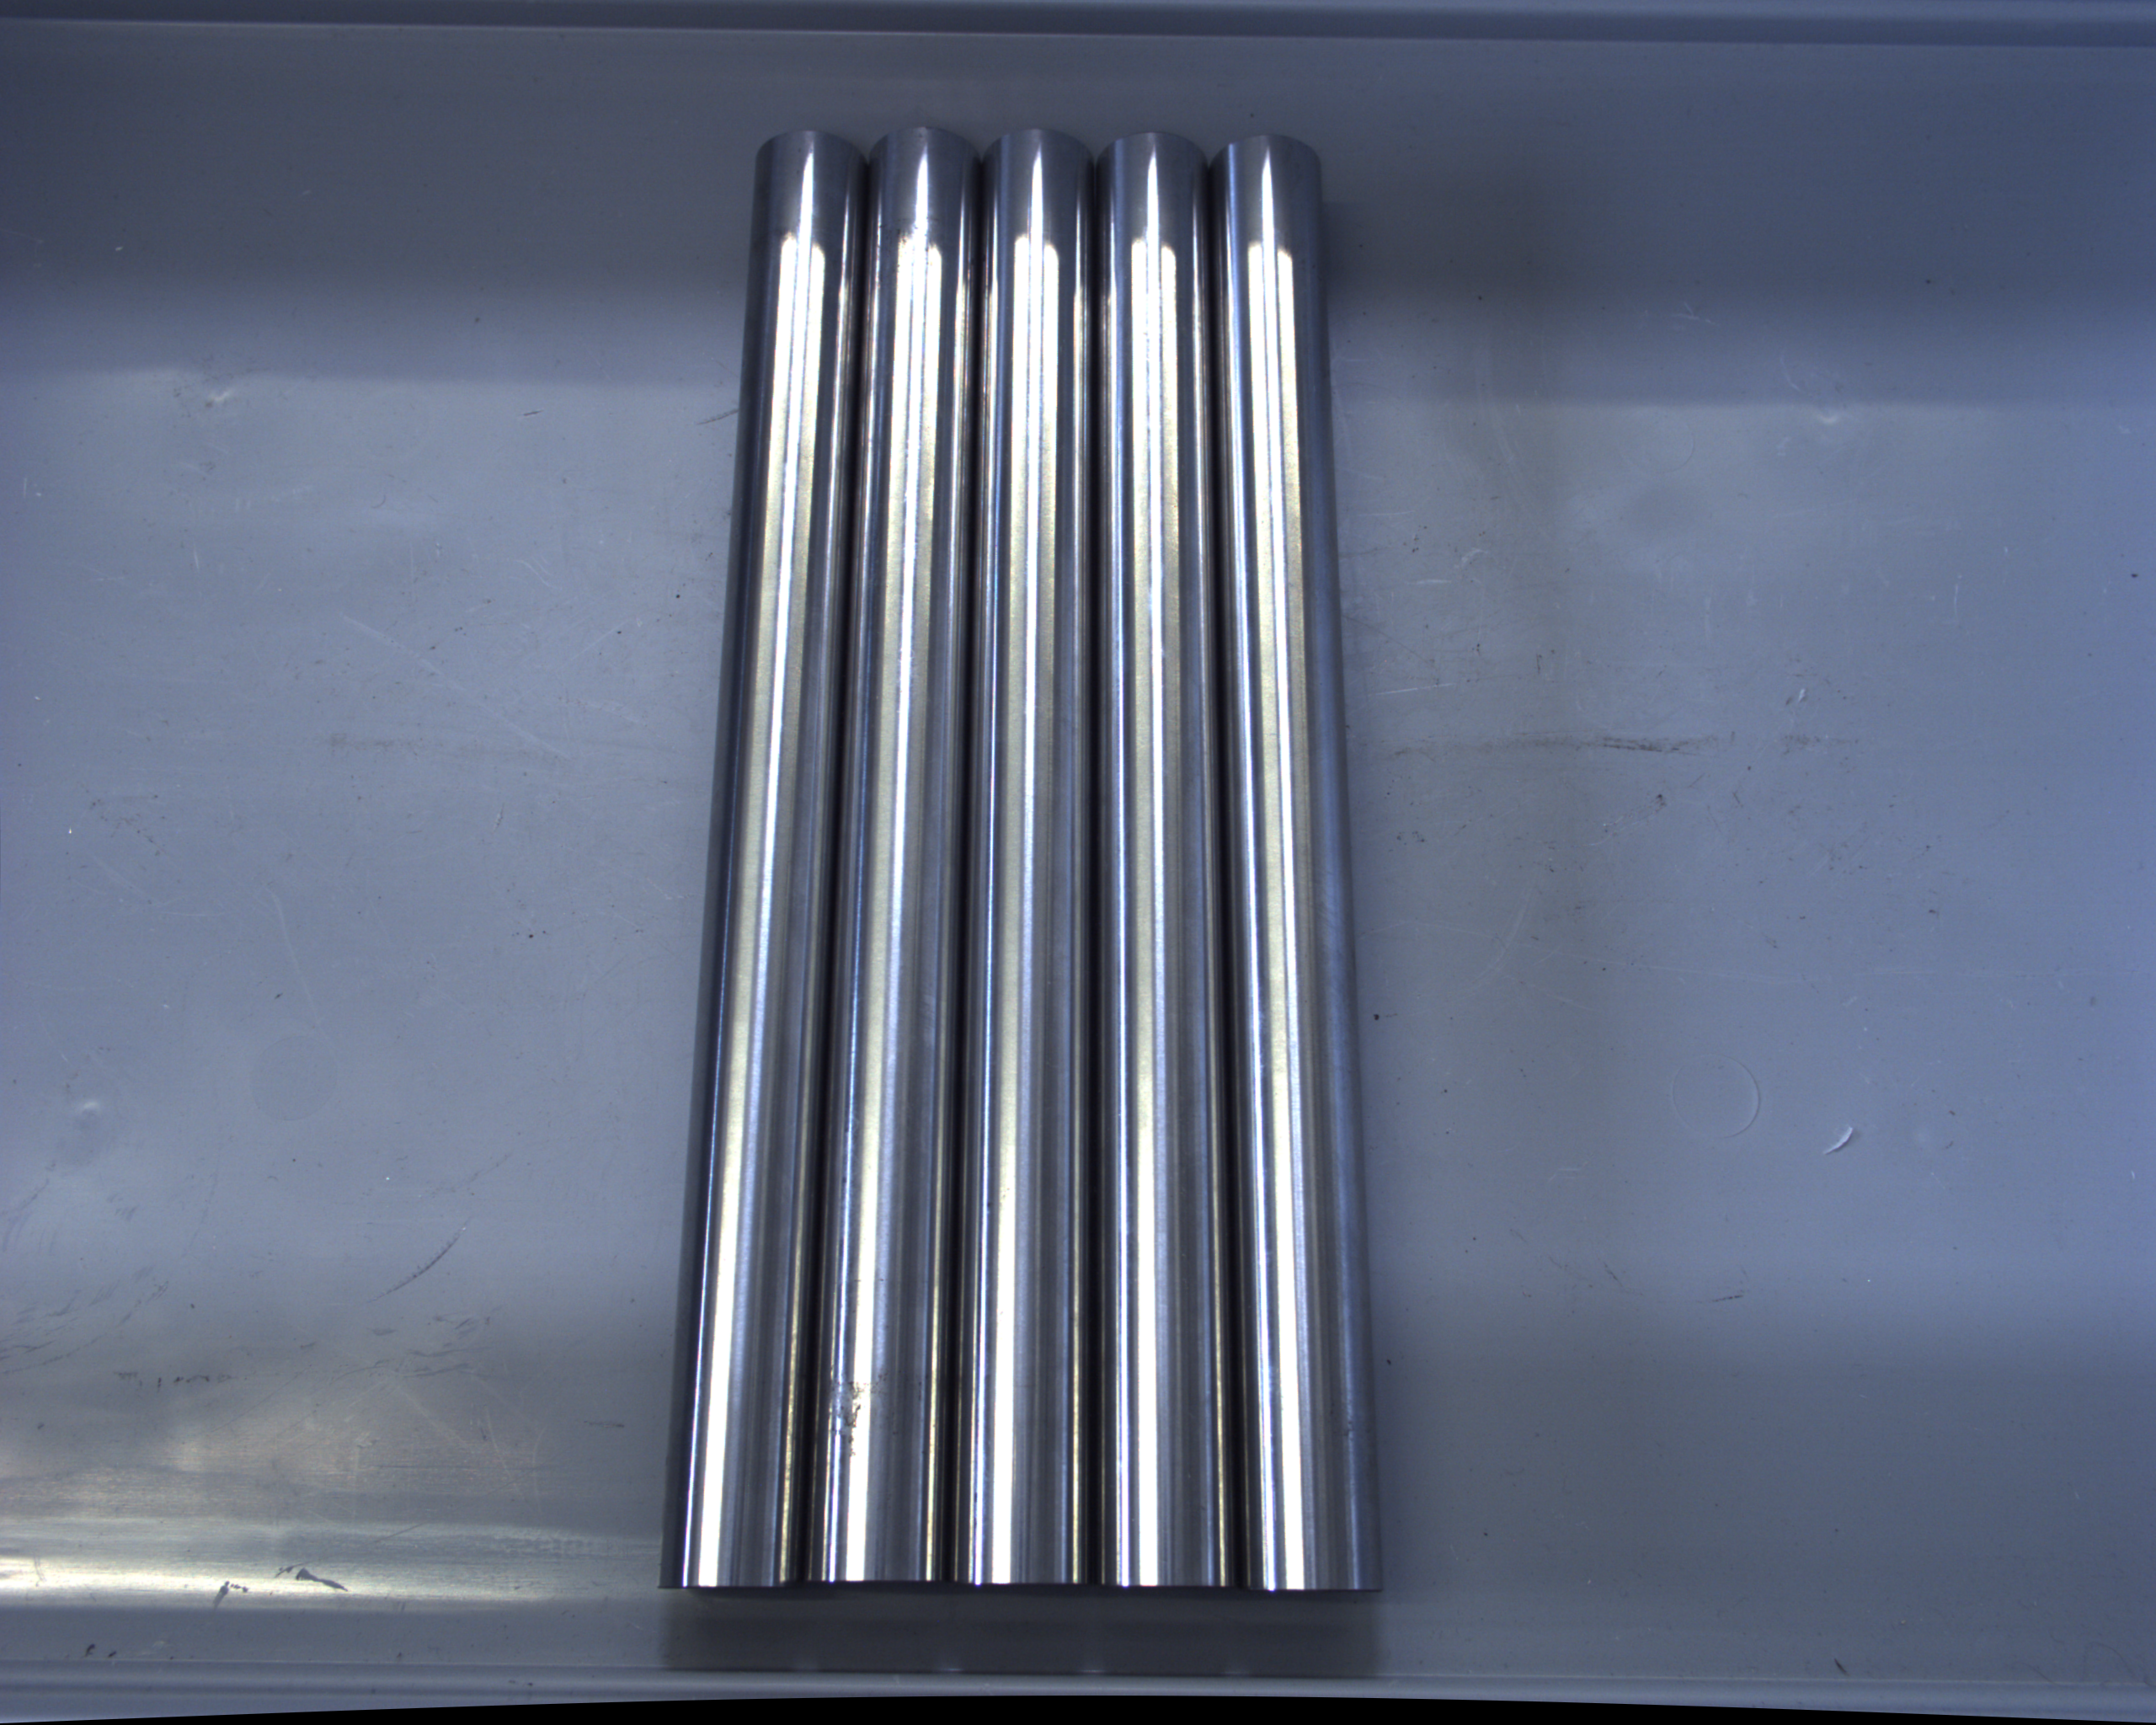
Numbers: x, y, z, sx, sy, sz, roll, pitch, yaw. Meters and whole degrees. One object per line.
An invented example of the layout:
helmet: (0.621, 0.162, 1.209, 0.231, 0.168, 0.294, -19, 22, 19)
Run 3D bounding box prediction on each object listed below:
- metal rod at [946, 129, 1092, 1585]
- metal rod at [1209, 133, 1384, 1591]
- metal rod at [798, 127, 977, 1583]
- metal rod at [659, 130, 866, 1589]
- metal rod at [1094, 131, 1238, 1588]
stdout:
metal rod: (-0.010, -0.015, 0.414, 0.025, 0.025, 0.299, 0, 70, 0)
metal rod: (0.041, -0.014, 0.413, 0.025, 0.025, 0.299, 0, 70, 0)
metal rod: (-0.035, -0.015, 0.413, 0.025, 0.025, 0.299, 0, 70, 0)
metal rod: (-0.059, -0.014, 0.413, 0.025, 0.025, 0.299, 0, 70, 0)
metal rod: (0.016, -0.014, 0.414, 0.025, 0.025, 0.299, 0, 70, 0)
